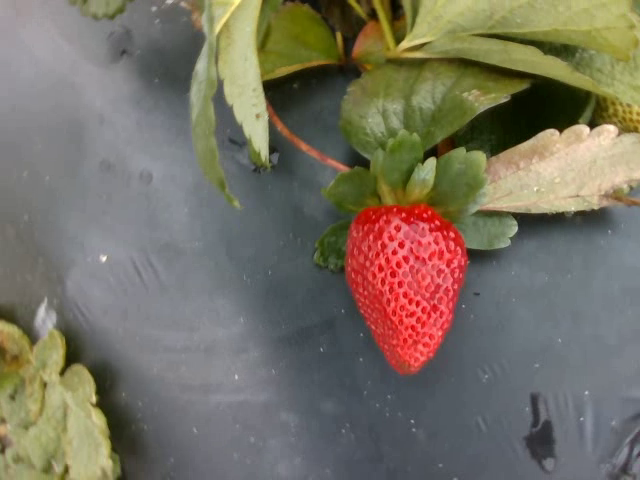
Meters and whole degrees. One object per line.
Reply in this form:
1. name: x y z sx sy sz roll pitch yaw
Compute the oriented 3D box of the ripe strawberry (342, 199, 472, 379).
1. ripe strawberry: 0.025 0.016 0.196 0.048 0.064 0.046 16 -31 -20
